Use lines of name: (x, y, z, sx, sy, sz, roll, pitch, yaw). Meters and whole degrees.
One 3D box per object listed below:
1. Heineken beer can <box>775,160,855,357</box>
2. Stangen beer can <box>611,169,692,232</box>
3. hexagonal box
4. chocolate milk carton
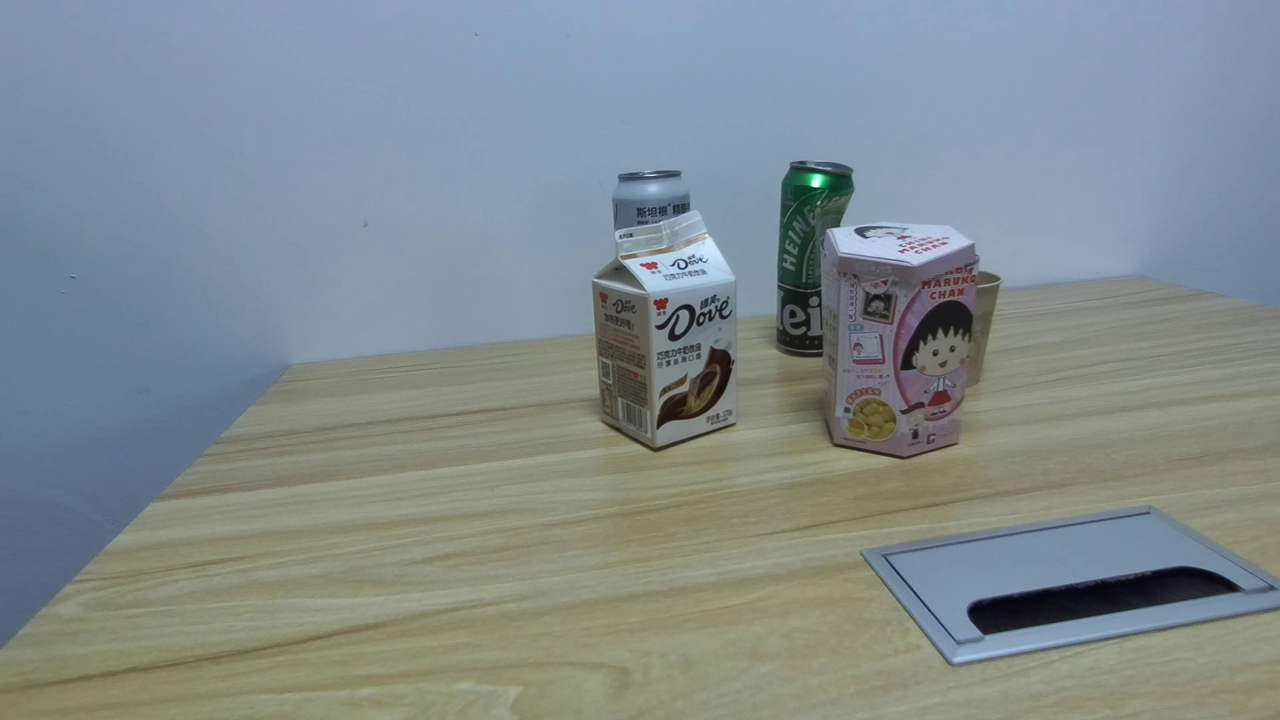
Heineken beer can: (0.161, -0.091, 0.642, 0.068, 0.168, 0.069, -6, 22, -10)
Stangen beer can: (0.013, -0.080, 0.627, 0.067, 0.171, 0.067, -3, 18, 1)
hexagonal box: (0.163, -0.015, 0.458, 0.092, 0.135, 0.084, -11, 20, -20)
chocolate milk carton: (0.017, -0.025, 0.491, 0.076, 0.148, 0.073, -14, 20, -31)
